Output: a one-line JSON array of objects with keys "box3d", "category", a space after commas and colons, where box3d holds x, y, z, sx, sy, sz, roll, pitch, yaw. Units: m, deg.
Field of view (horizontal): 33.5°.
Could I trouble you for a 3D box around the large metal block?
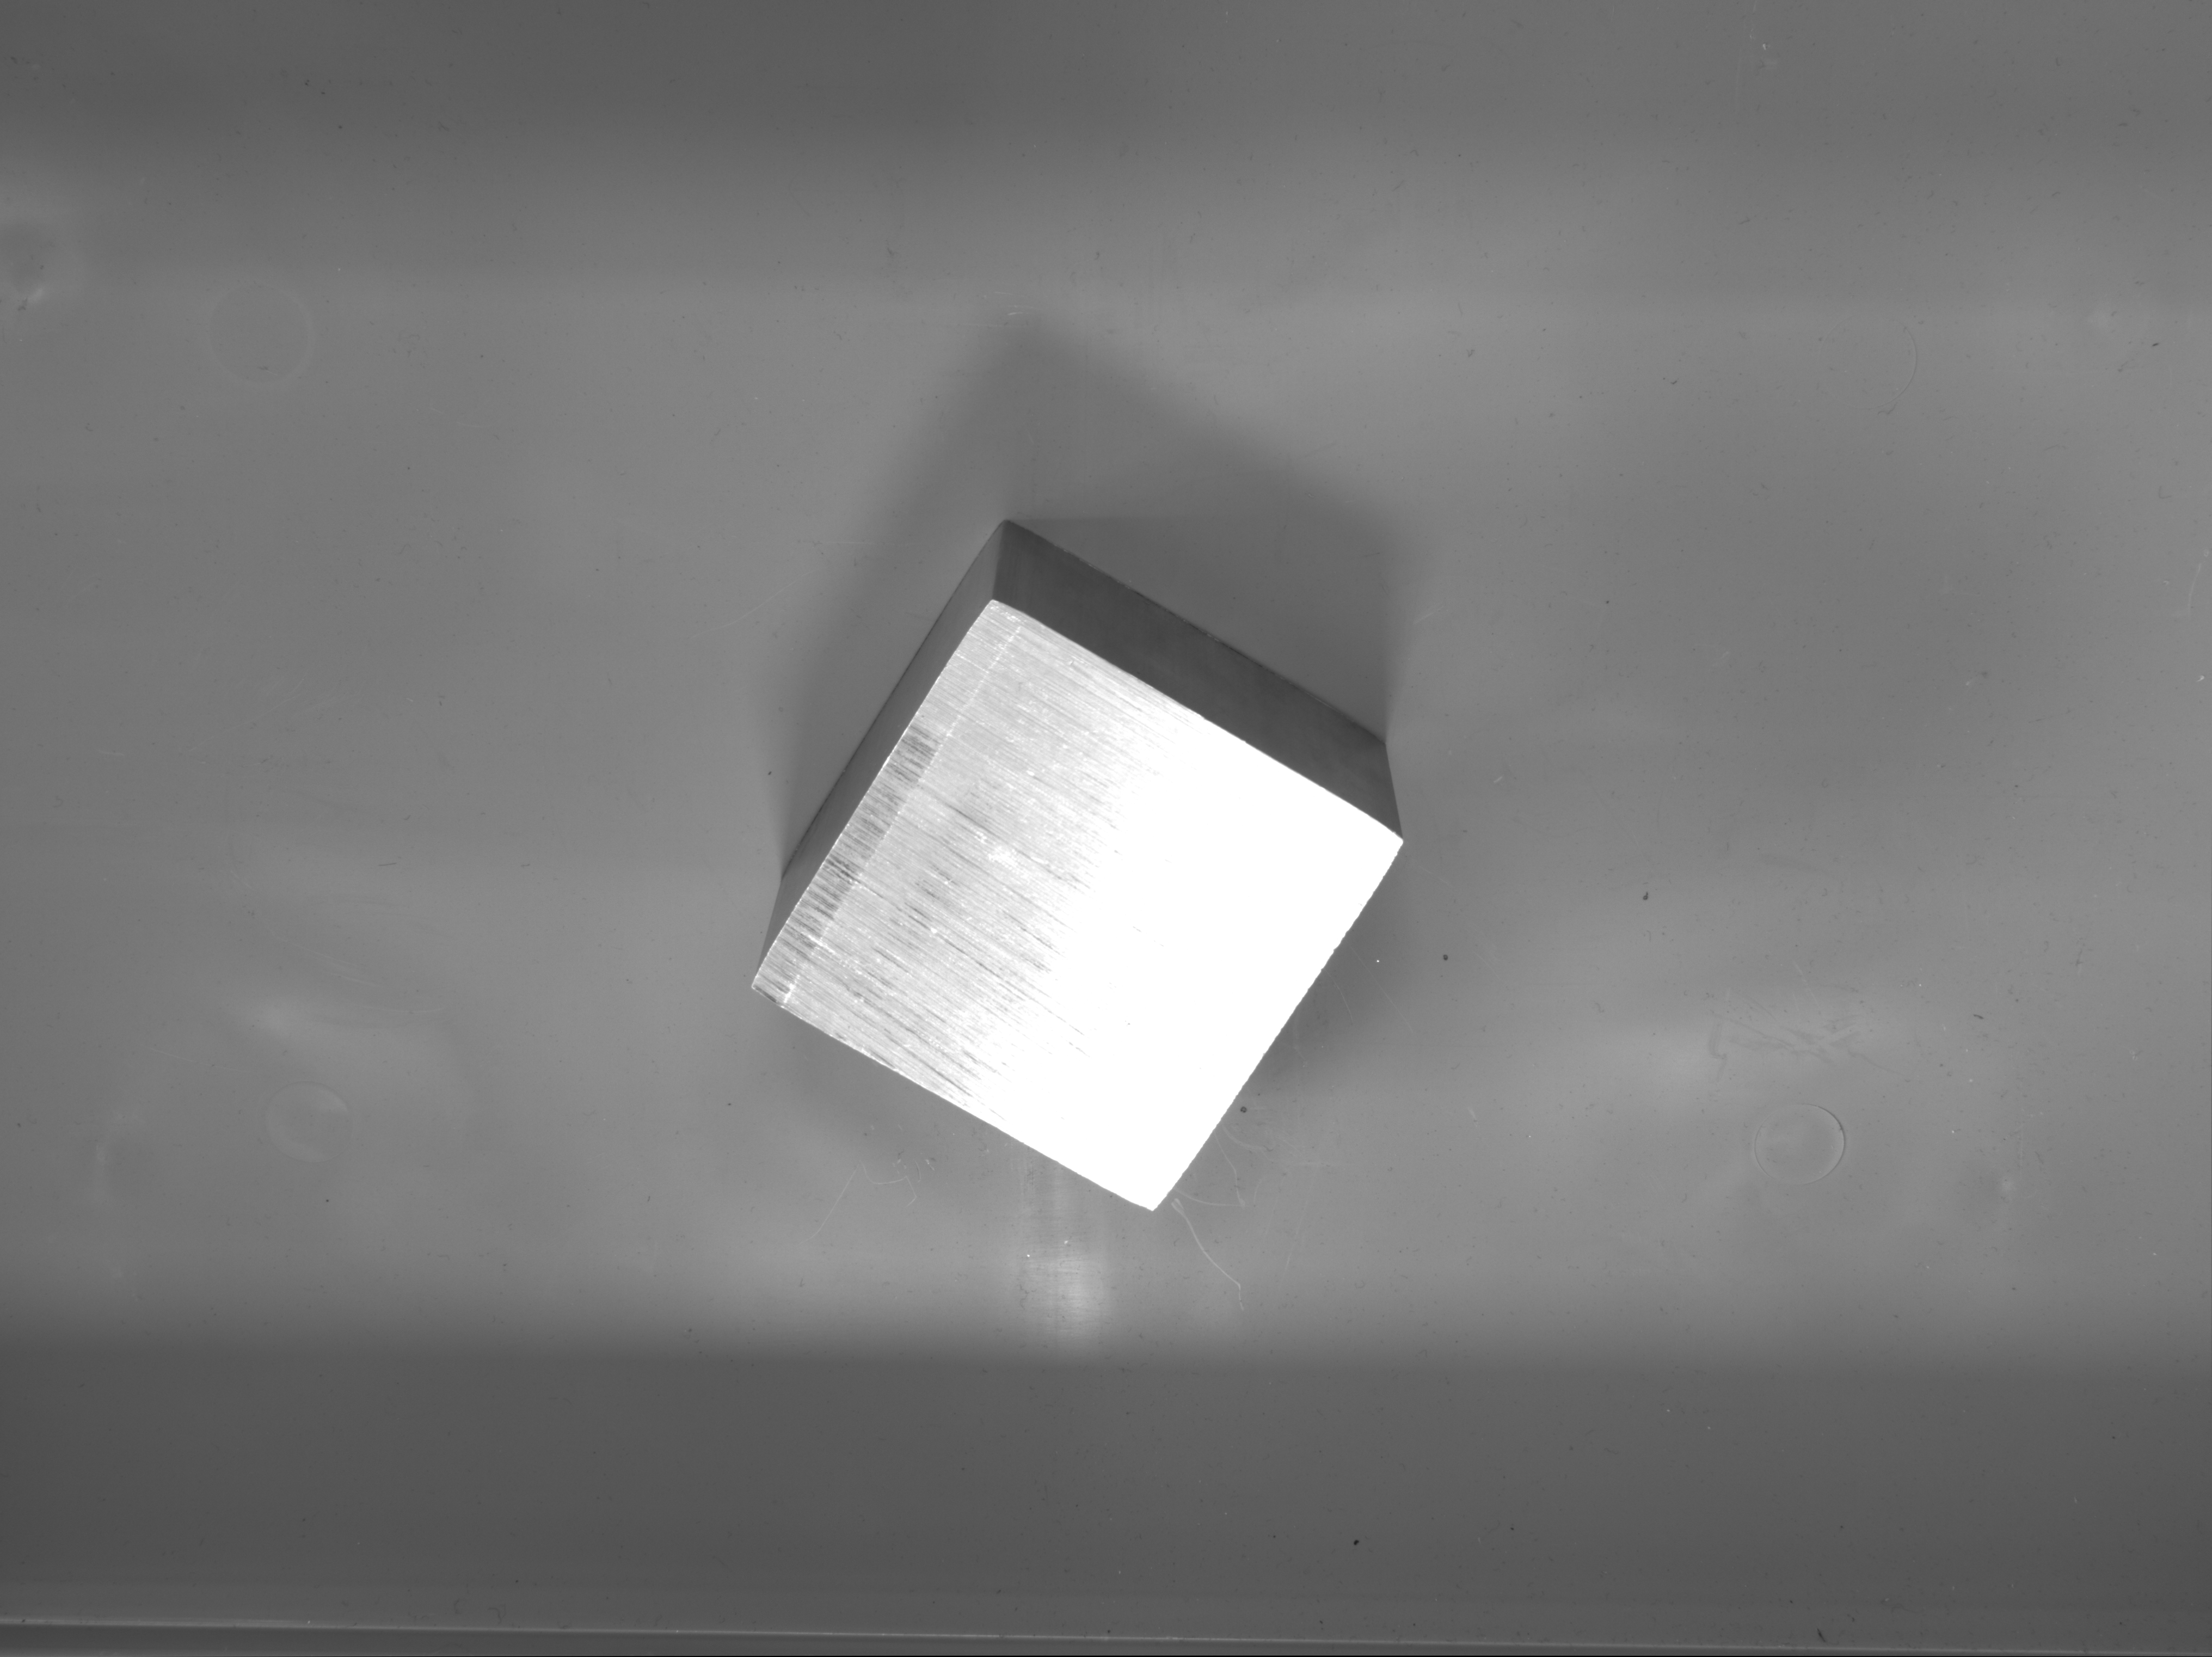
[{"box3d": [-0.005, 0.006, 0.630, 0.080, 0.050, 0.080, 30, 107, -11], "category": "large metal block"}]
